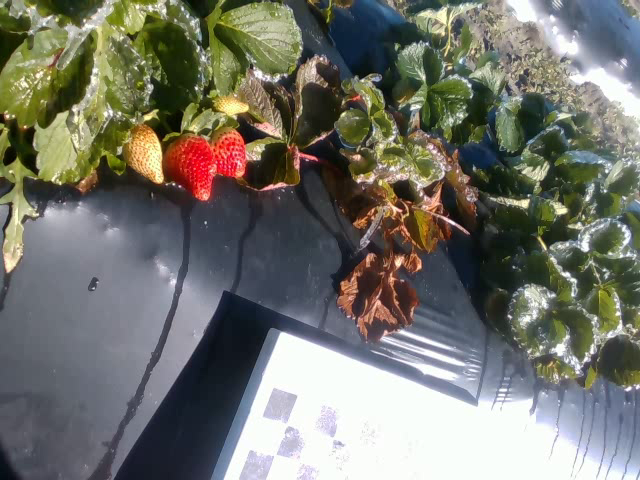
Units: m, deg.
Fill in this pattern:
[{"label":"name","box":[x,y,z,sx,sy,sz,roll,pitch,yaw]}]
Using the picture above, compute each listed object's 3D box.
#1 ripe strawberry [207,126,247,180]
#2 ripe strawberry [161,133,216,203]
[{"label":"ripe strawberry","box":[-0.067,-0.063,0.461,0.036,0.041,0.030,-43,19,-21]},{"label":"ripe strawberry","box":[-0.086,-0.045,0.430,0.036,0.052,0.040,-18,-24,-29]}]
